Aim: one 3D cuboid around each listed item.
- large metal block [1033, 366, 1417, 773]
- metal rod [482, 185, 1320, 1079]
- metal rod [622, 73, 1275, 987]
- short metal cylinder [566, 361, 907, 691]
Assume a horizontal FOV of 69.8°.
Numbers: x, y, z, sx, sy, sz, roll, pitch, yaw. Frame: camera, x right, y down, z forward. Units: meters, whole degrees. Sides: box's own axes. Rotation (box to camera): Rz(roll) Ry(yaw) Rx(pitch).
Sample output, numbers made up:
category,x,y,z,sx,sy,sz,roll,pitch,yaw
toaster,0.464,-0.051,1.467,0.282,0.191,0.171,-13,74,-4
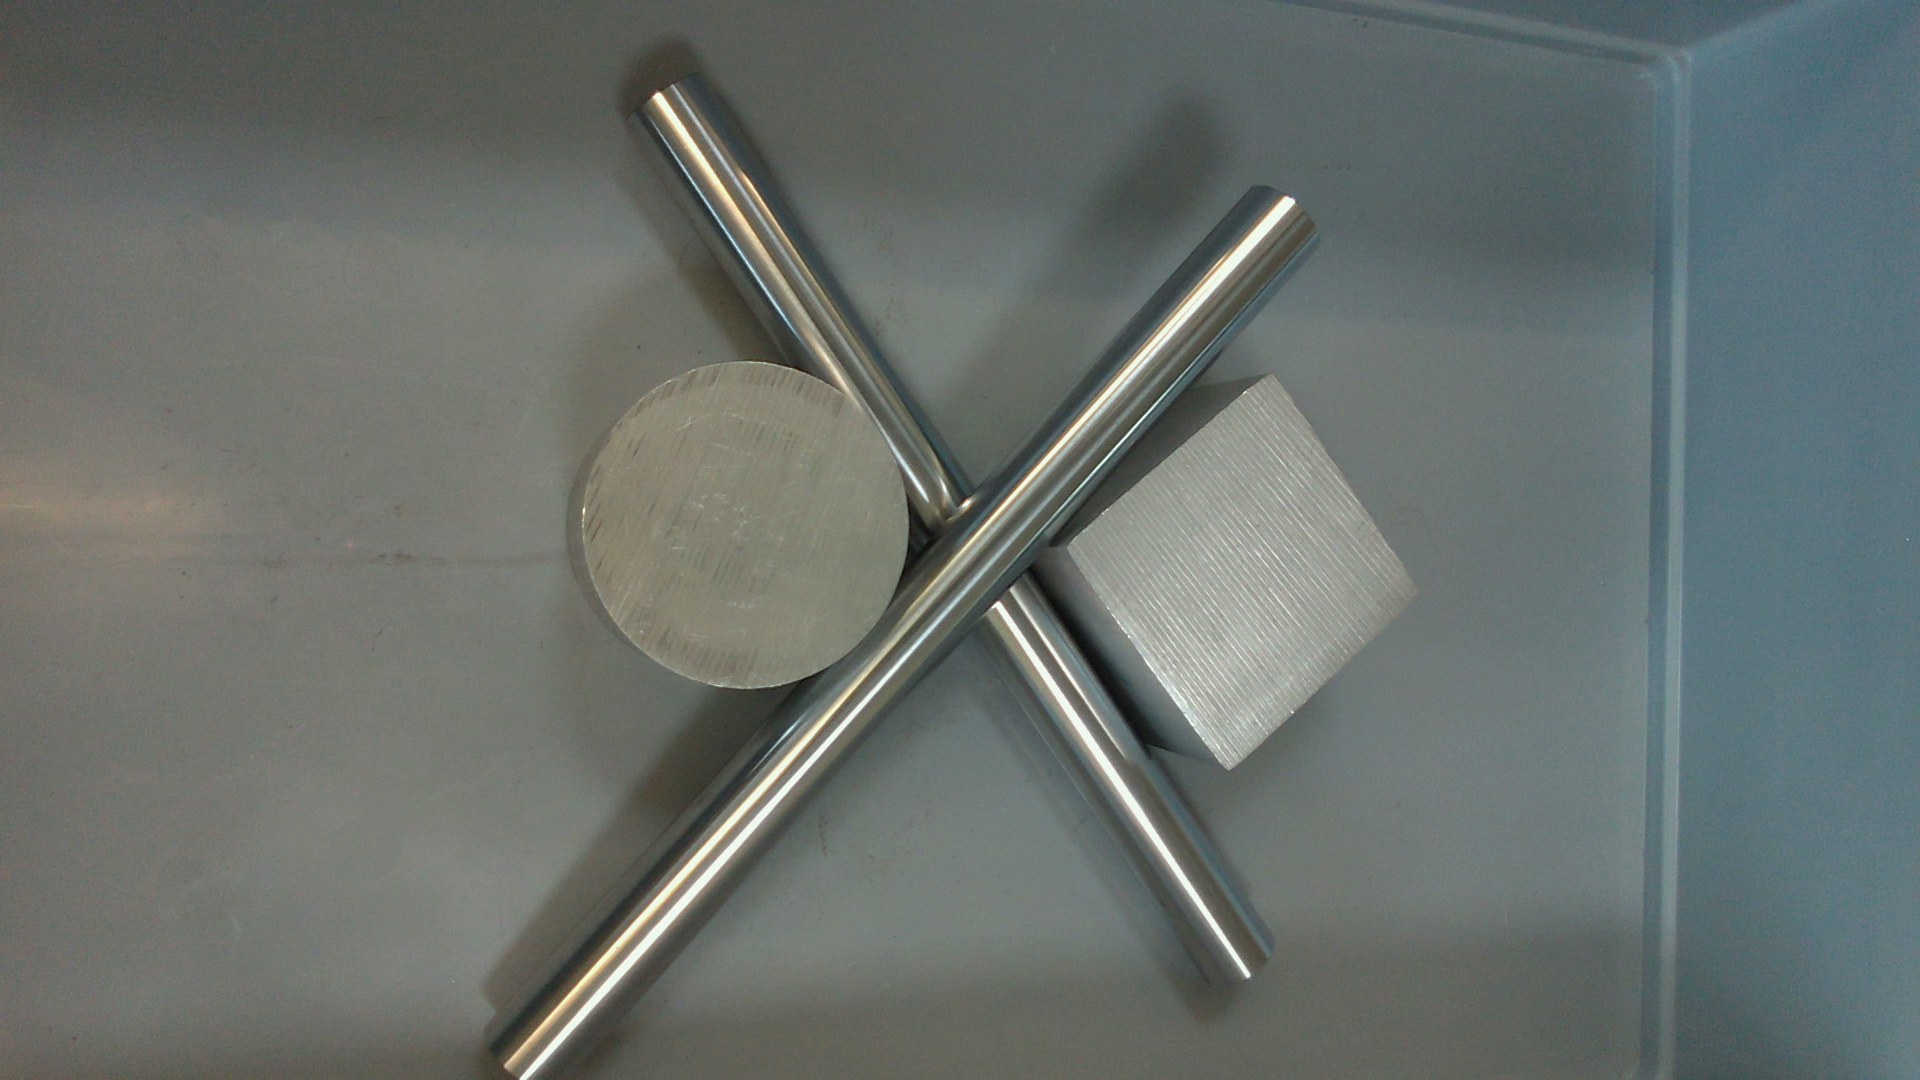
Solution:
category,x,y,z,sx,sy,sz,roll,pitch,yaw
large metal block,0.072,0.008,0.404,0.080,0.050,0.080,-40,103,-15
metal rod,-0.012,0.022,0.366,0.025,0.025,0.300,44,85,-15
metal rod,0.004,0.006,0.393,0.025,0.025,0.300,-37,102,-16
short metal cylinder,-0.059,-0.003,0.357,0.080,0.050,0.080,0,90,-20
